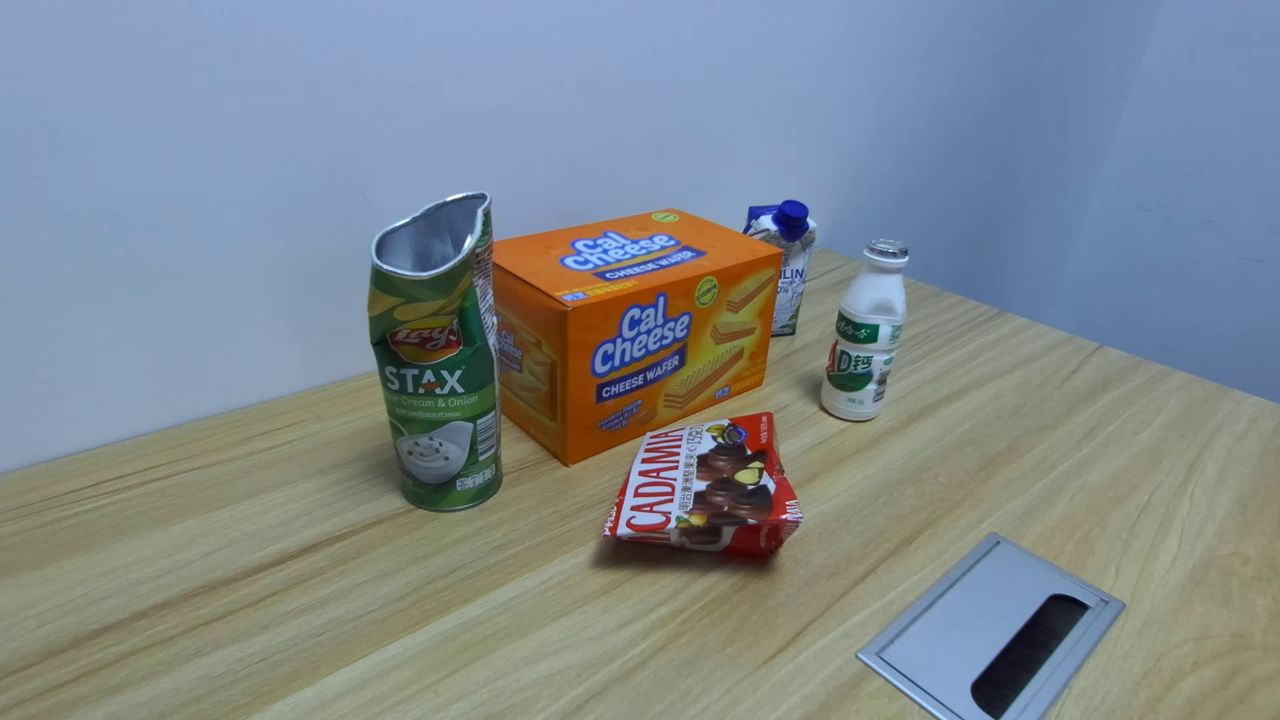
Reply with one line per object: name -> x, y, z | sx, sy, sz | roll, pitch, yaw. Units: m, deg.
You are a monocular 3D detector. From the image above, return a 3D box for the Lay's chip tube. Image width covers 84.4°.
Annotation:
Lay's chip tube -> -0.121, 0.004, 0.438 | 0.079, 0.199, 0.070 | -11, 39, -23

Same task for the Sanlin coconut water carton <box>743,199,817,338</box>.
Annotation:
Sanlin coconut water carton -> 0.135, -0.093, 0.710 | 0.078, 0.142, 0.057 | -6, 34, -19

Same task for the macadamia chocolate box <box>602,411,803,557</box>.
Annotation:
macadamia chocolate box -> 0.039, 0.080, 0.457 | 0.112, 0.056, 0.126 | 6, 27, 2

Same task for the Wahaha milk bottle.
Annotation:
Wahaha milk bottle -> 0.185, -0.017, 0.576 | 0.053, 0.136, 0.053 | 5, 25, -2

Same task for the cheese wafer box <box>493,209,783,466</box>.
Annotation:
cheese wafer box -> -0.011, -0.033, 0.593 | 0.223, 0.129, 0.147 | -19, 35, -36
